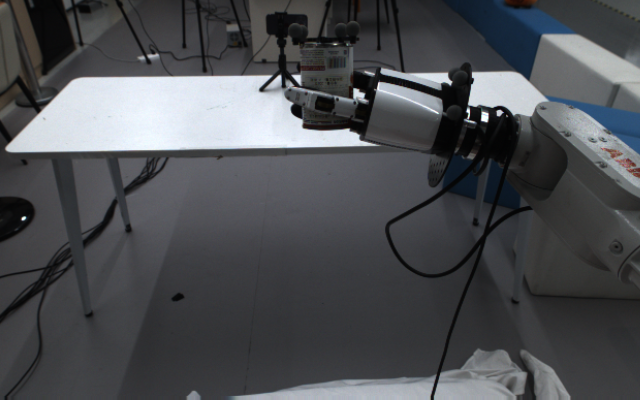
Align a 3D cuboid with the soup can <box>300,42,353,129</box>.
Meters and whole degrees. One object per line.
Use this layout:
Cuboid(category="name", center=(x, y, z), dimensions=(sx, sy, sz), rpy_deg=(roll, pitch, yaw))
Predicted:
Cuboid(category="soup can", center=(0.010, -0.143, 0.606), dimensions=(0.067, 0.101, 0.067), rpy_deg=(-2, 17, 0))
